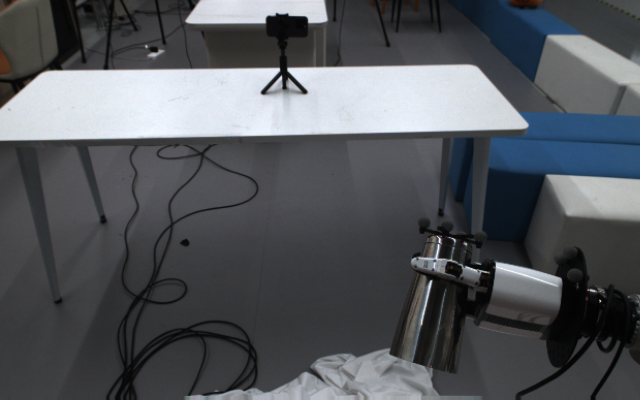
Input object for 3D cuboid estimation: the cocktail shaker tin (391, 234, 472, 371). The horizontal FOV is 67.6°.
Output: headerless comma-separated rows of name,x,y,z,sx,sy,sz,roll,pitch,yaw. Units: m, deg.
cocktail shaker tin,0.163,0.135,0.663,0.093,0.093,0.170,12,75,14
